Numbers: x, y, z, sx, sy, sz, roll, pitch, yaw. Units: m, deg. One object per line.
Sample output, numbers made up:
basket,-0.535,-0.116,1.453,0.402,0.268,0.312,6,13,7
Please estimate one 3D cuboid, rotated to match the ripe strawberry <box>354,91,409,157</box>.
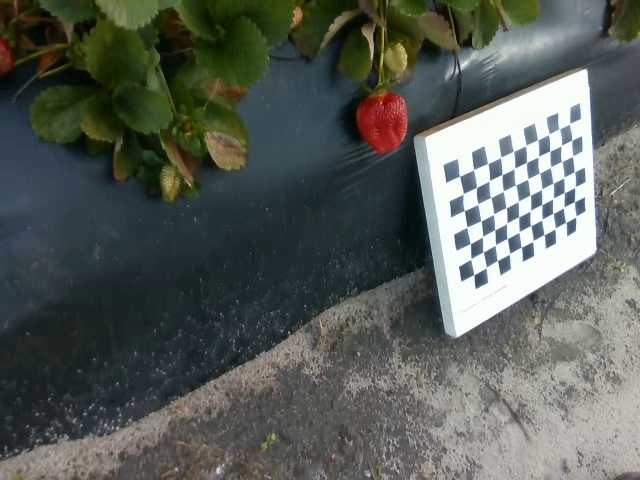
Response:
ripe strawberry,0.074,-0.138,0.674,0.067,0.075,0.039,-20,21,-22
